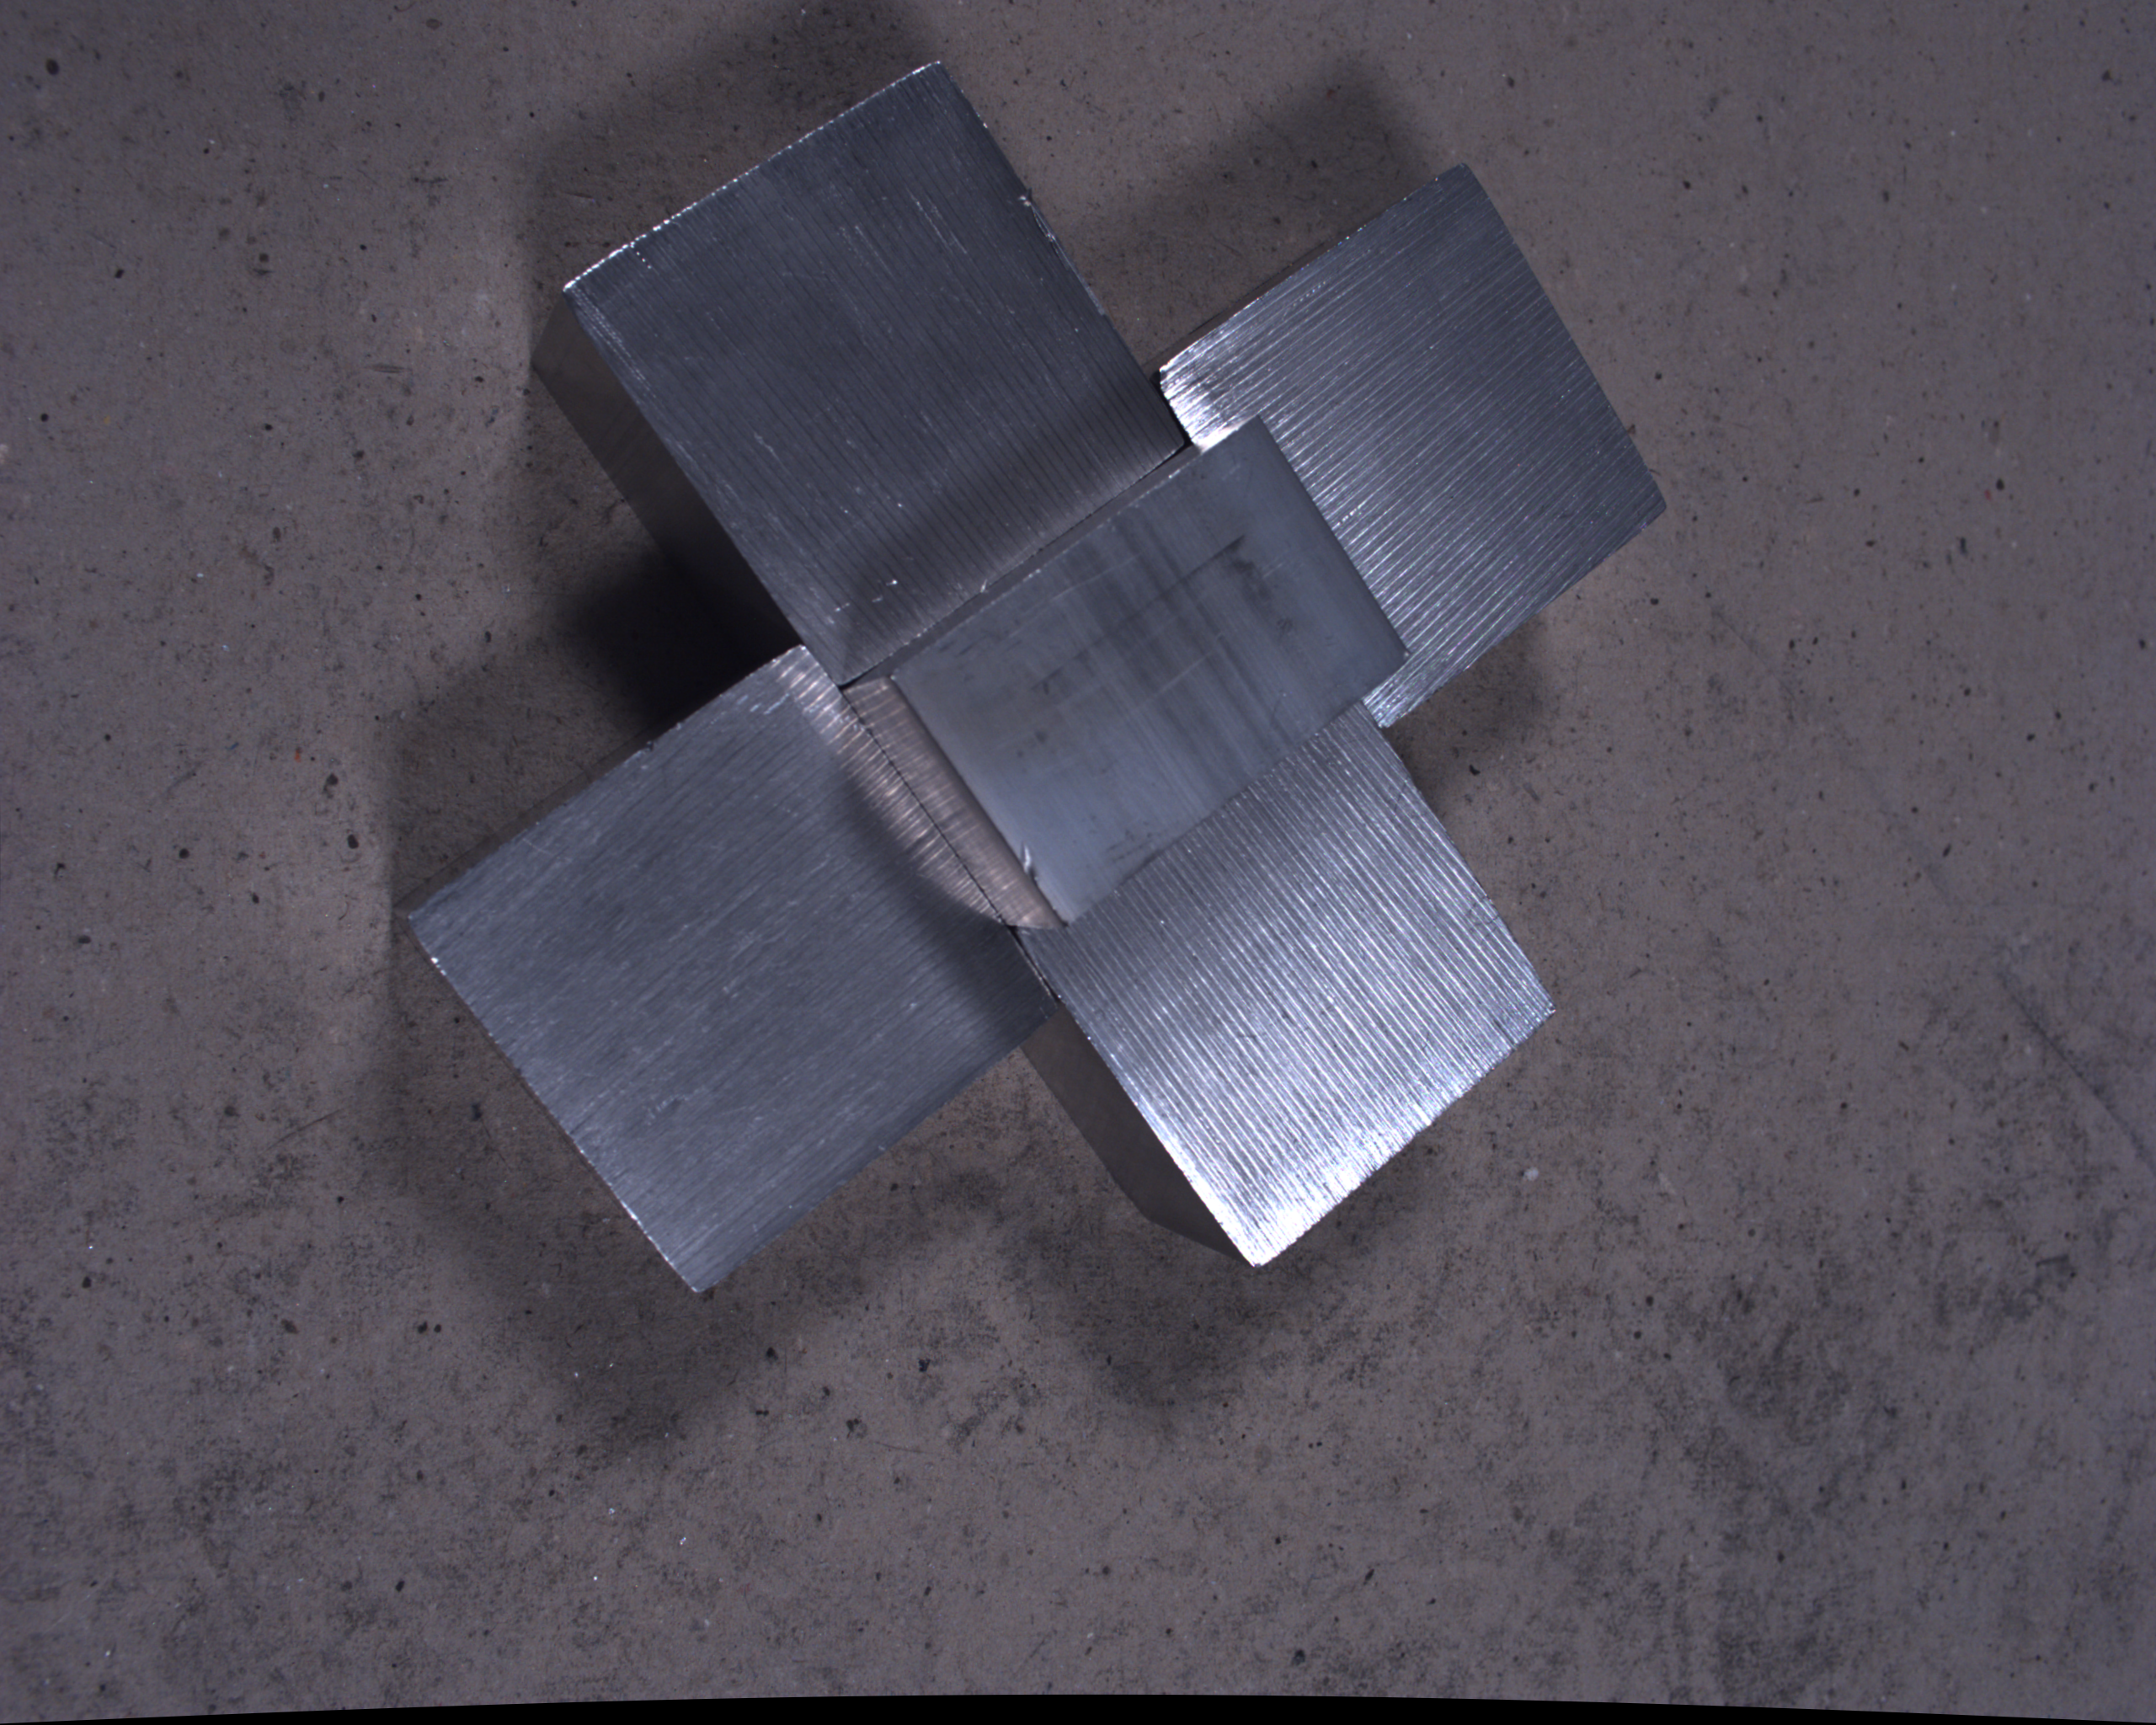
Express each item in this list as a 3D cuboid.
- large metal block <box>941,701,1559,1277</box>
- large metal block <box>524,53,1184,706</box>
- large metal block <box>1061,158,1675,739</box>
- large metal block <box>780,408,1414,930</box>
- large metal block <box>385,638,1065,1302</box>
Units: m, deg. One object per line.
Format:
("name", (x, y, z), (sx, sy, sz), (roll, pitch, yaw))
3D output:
("large metal block", (0.032, 0.020, 0.409), (0.080, 0.050, 0.080), (-38, 103, -16))
("large metal block", (-0.041, -0.085, 0.382), (0.080, 0.050, 0.080), (-38, 103, -16))
("large metal block", (0.057, -0.079, 0.418), (0.080, 0.050, 0.080), (-38, 103, -16))
("large metal block", (0.000, -0.033, 0.382), (0.080, 0.080, 0.050), (-38, 103, -16))
("large metal block", (-0.064, 0.017, 0.373), (0.080, 0.050, 0.080), (-38, 103, -16))
